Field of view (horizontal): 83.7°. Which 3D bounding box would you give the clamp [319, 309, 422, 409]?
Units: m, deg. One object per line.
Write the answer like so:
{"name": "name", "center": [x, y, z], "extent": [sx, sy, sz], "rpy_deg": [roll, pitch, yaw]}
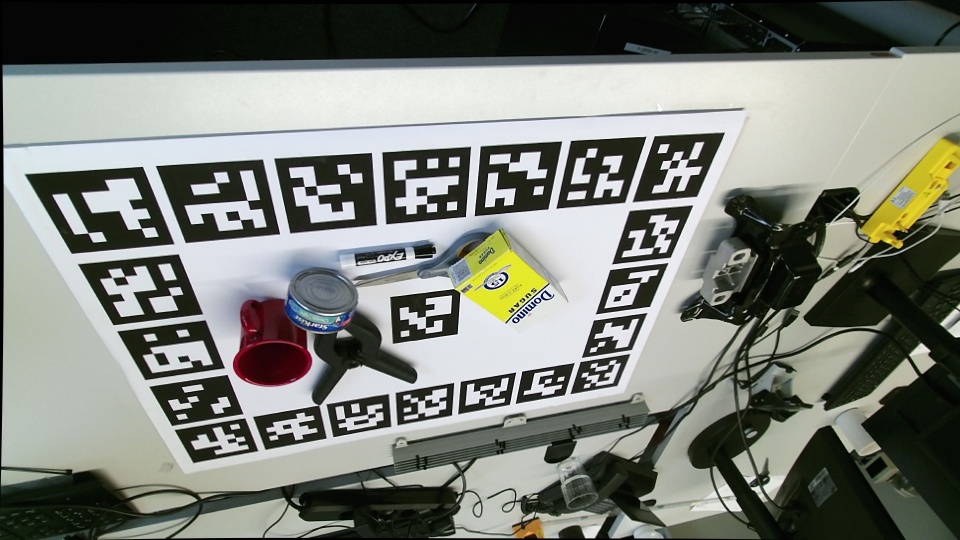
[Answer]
{"name": "clamp", "center": [-0.184, 0.123, 0.795], "extent": [0.166, 0.036, 0.203], "rpy_deg": [-14, 132, -6]}

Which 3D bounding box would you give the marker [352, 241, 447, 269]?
{"name": "marker", "center": [-0.103, -0.021, 0.695], "extent": [0.121, 0.019, 0.019], "rpy_deg": [-10, 131, -11]}

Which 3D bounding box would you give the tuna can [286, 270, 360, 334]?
{"name": "tuna can", "center": [-0.196, 0.038, 0.670], "extent": [0.086, 0.085, 0.034], "rpy_deg": [7, 127, -24]}

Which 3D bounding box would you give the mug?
{"name": "mug", "center": [-0.258, 0.082, 0.694], "extent": [0.093, 0.081, 0.117], "rpy_deg": [-27, 136, 5]}

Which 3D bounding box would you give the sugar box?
{"name": "sugar box", "center": [0.046, 0.023, 0.759], "extent": [0.093, 0.045, 0.177], "rpy_deg": [-34, 138, 12]}

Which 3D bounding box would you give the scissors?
{"name": "scissors", "center": [-0.061, 0.007, 0.731], "extent": [0.203, 0.016, 0.088], "rpy_deg": [-14, 136, -5]}
